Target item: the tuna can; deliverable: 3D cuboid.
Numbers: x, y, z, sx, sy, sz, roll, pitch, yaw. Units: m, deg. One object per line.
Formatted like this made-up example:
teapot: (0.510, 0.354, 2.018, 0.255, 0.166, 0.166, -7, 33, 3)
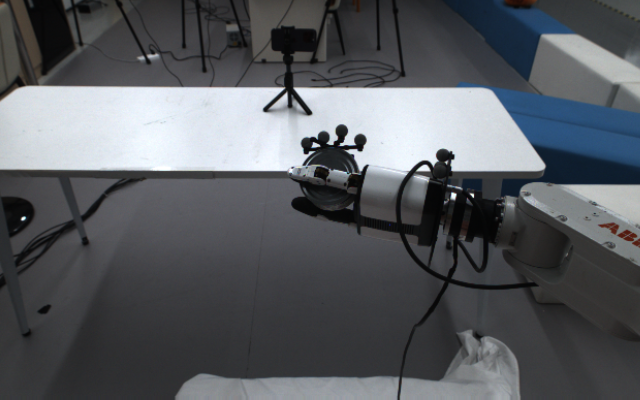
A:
tuna can: (0.016, -0.029, 0.683, 0.085, 0.034, 0.085, -5, 70, 14)
